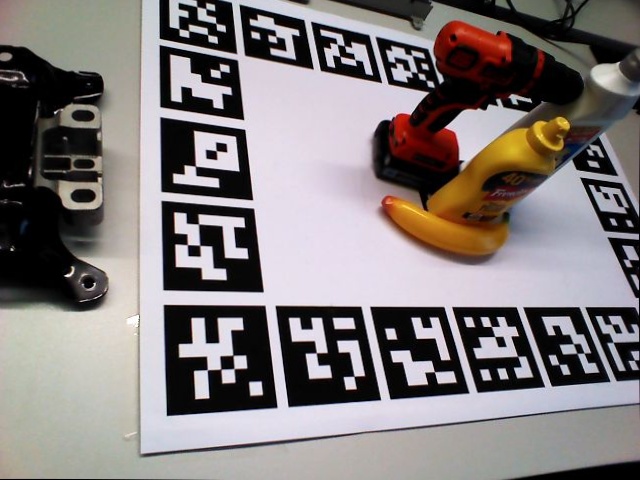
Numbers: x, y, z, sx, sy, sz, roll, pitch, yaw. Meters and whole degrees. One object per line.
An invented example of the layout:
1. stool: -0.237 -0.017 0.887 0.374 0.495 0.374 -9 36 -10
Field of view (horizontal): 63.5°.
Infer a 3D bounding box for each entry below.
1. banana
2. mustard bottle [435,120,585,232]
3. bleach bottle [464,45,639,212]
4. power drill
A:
1. banana: 0.181 -0.011 0.660 0.197 0.039 0.074 7 61 -19
2. mustard bottle: 0.229 -0.075 0.612 0.096 0.193 0.058 5 62 -24
3. bleach bottle: 0.295 -0.133 0.645 0.102 0.252 0.067 6 55 -22
4. power drill: 0.191 -0.150 0.610 0.184 0.188 0.057 16 56 -19
